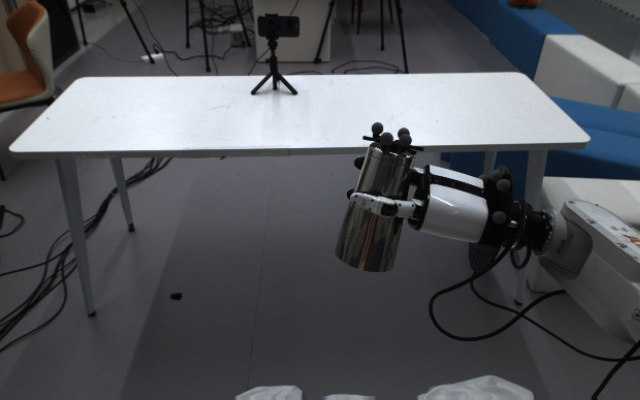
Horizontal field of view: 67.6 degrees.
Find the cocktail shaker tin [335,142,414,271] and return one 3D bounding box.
[{"bbox_3d":[0.085,0.006,0.704,0.093,0.170,0.093,11,19,-4],"label":"cocktail shaker tin"}]
